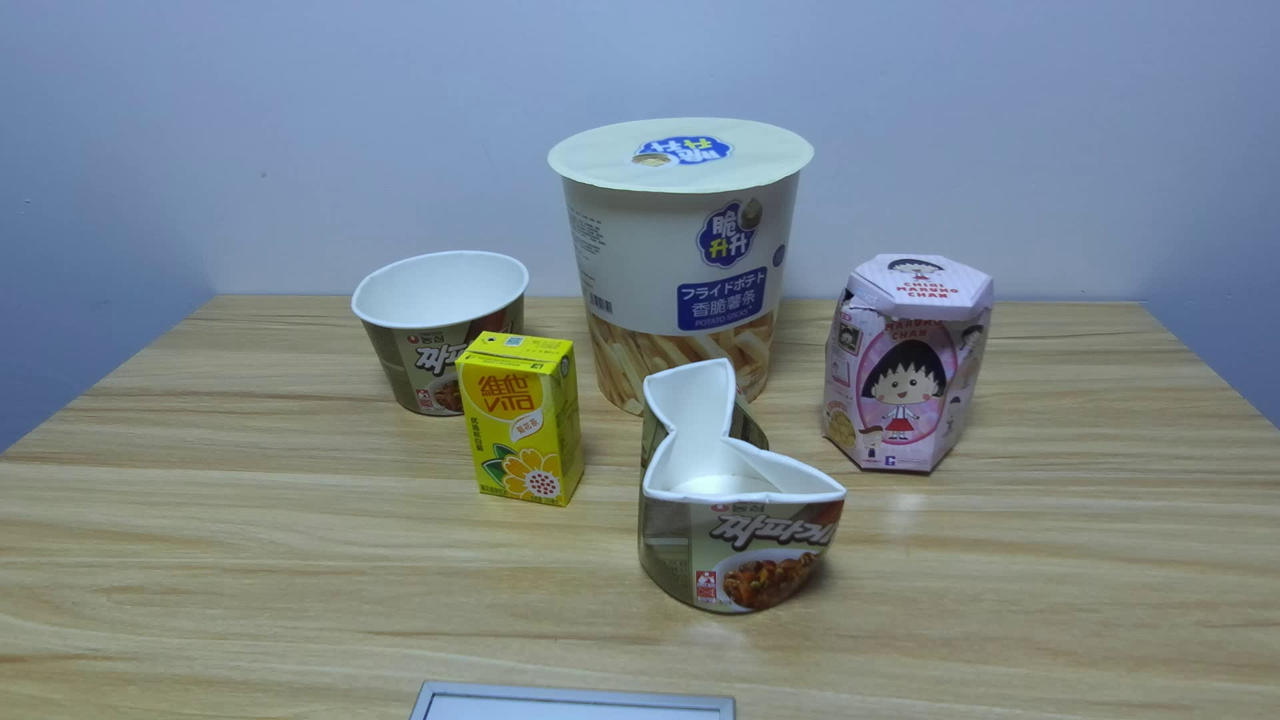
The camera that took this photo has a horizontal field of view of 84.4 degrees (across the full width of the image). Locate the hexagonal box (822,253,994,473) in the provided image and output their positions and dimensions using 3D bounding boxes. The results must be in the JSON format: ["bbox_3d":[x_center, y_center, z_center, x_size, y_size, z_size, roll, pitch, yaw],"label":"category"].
[{"bbox_3d":[0.181,0.002,0.491,0.090,0.134,0.090,-24,37,-36],"label":"hexagonal box"}]

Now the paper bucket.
[{"bbox_3d":[0.032,-0.070,0.558,0.198,0.195,0.198,-2,32,1],"label":"paper bucket"}]

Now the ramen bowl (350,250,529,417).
[{"bbox_3d":[-0.156,-0.021,0.592,0.140,0.095,0.140,-1,33,1],"label":"ramen bowl"}]

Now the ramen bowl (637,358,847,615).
[{"bbox_3d":[0.053,0.071,0.420,0.111,0.093,0.128,-2,33,1],"label":"ramen bowl"}]

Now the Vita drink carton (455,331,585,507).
[{"bbox_3d":[-0.076,0.040,0.471,0.066,0.109,0.043,7,33,15],"label":"Vita drink carton"}]
